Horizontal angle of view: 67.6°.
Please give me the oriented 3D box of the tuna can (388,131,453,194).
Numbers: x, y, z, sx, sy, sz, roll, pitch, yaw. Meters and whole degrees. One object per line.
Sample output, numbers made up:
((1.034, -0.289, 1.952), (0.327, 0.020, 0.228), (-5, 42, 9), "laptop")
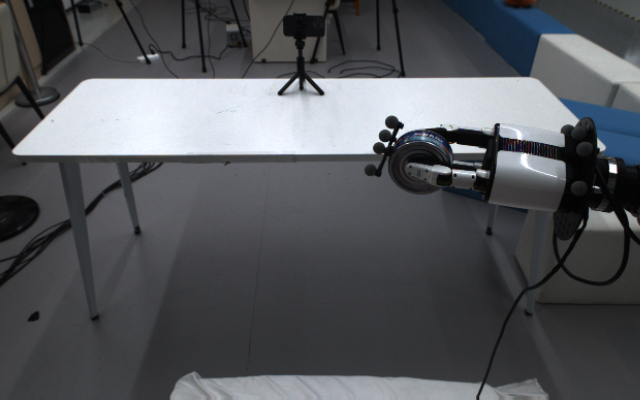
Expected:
((0.139, -0.052, 0.662), (0.085, 0.085, 0.034), (9, 35, 9), "tuna can")
